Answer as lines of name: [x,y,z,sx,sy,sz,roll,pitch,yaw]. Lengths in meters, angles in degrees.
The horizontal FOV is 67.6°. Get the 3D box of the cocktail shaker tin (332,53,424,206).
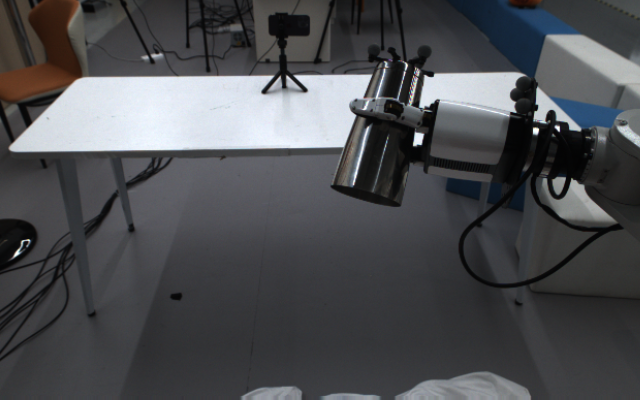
cocktail shaker tin: [0.080,-0.086,0.620,0.093,0.170,0.093,16,-6,2]
